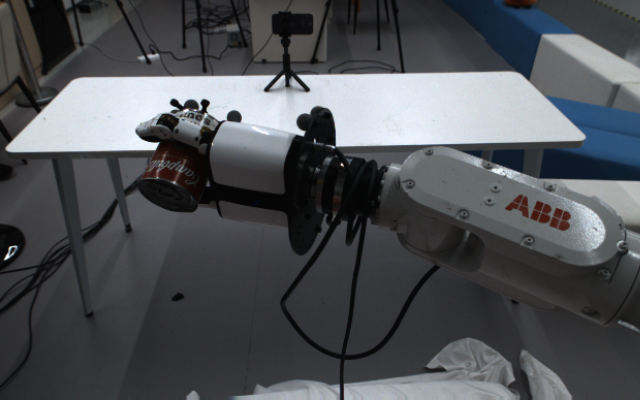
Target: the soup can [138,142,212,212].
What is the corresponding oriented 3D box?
[{"bbox_3d":[-0.154,-0.045,0.550,0.067,0.067,0.101,9,58,10],"label":"soup can"}]
